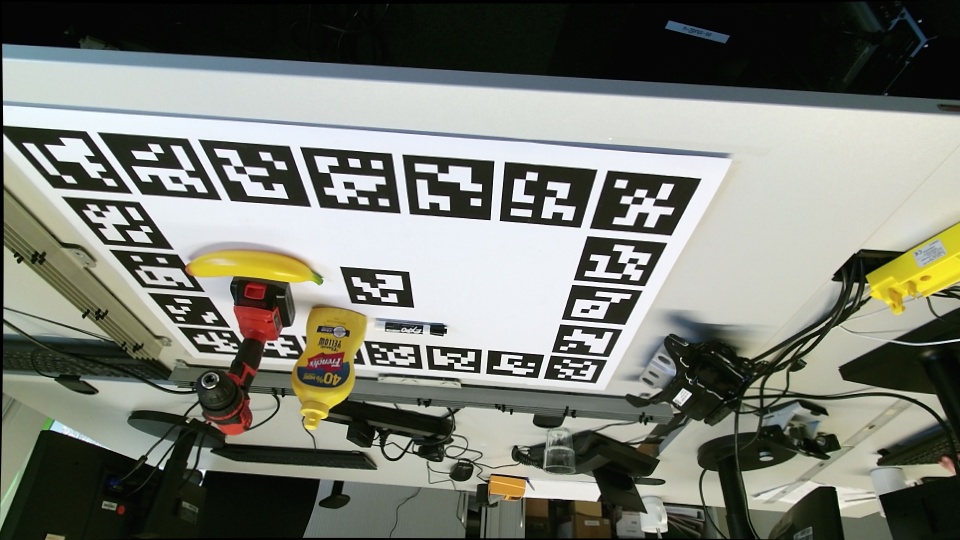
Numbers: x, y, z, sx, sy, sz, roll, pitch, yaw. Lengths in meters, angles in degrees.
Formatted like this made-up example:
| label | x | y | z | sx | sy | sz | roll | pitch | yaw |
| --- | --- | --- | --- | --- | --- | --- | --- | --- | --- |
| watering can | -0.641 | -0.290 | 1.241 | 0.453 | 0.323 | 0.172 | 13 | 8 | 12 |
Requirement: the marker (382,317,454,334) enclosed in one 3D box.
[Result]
| label | x | y | z | sx | sy | sz | roll | pitch | yaw |
| --- | --- | --- | --- | --- | --- | --- | --- | --- | --- |
| marker | -0.106 | 0.096 | 0.922 | 0.121 | 0.019 | 0.019 | 5 | 140 | -1 |

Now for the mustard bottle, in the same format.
| label | x | y | z | sx | sy | sz | roll | pitch | yaw |
| --- | --- | --- | --- | --- | --- | --- | --- | --- | --- |
| mustard bottle | -0.238 | 0.147 | 0.863 | 0.096 | 0.190 | 0.058 | 12 | 141 | -7 |

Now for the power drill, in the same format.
| label | x | y | z | sx | sy | sz | roll | pitch | yaw |
| --- | --- | --- | --- | --- | --- | --- | --- | --- | --- |
| power drill | -0.342 | 0.112 | 0.803 | 0.057 | 0.186 | 0.185 | 14 | 143 | -8 |

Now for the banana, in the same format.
| label | x | y | z | sx | sy | sz | roll | pitch | yaw |
| --- | --- | --- | --- | --- | --- | --- | --- | --- | --- |
| banana | -0.323 | -0.016 | 0.794 | 0.198 | 0.038 | 0.074 | 8 | 140 | -7 |
